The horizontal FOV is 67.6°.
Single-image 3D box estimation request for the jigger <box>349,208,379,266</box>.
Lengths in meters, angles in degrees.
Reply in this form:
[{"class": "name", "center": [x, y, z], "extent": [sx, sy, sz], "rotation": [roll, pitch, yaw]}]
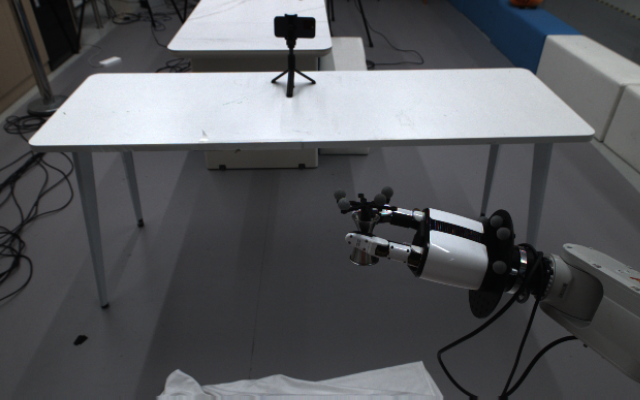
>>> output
[{"class": "jigger", "center": [0.064, 0.054, 0.700], "extent": [0.043, 0.071, 0.043], "rotation": [0, 21, 0]}]
